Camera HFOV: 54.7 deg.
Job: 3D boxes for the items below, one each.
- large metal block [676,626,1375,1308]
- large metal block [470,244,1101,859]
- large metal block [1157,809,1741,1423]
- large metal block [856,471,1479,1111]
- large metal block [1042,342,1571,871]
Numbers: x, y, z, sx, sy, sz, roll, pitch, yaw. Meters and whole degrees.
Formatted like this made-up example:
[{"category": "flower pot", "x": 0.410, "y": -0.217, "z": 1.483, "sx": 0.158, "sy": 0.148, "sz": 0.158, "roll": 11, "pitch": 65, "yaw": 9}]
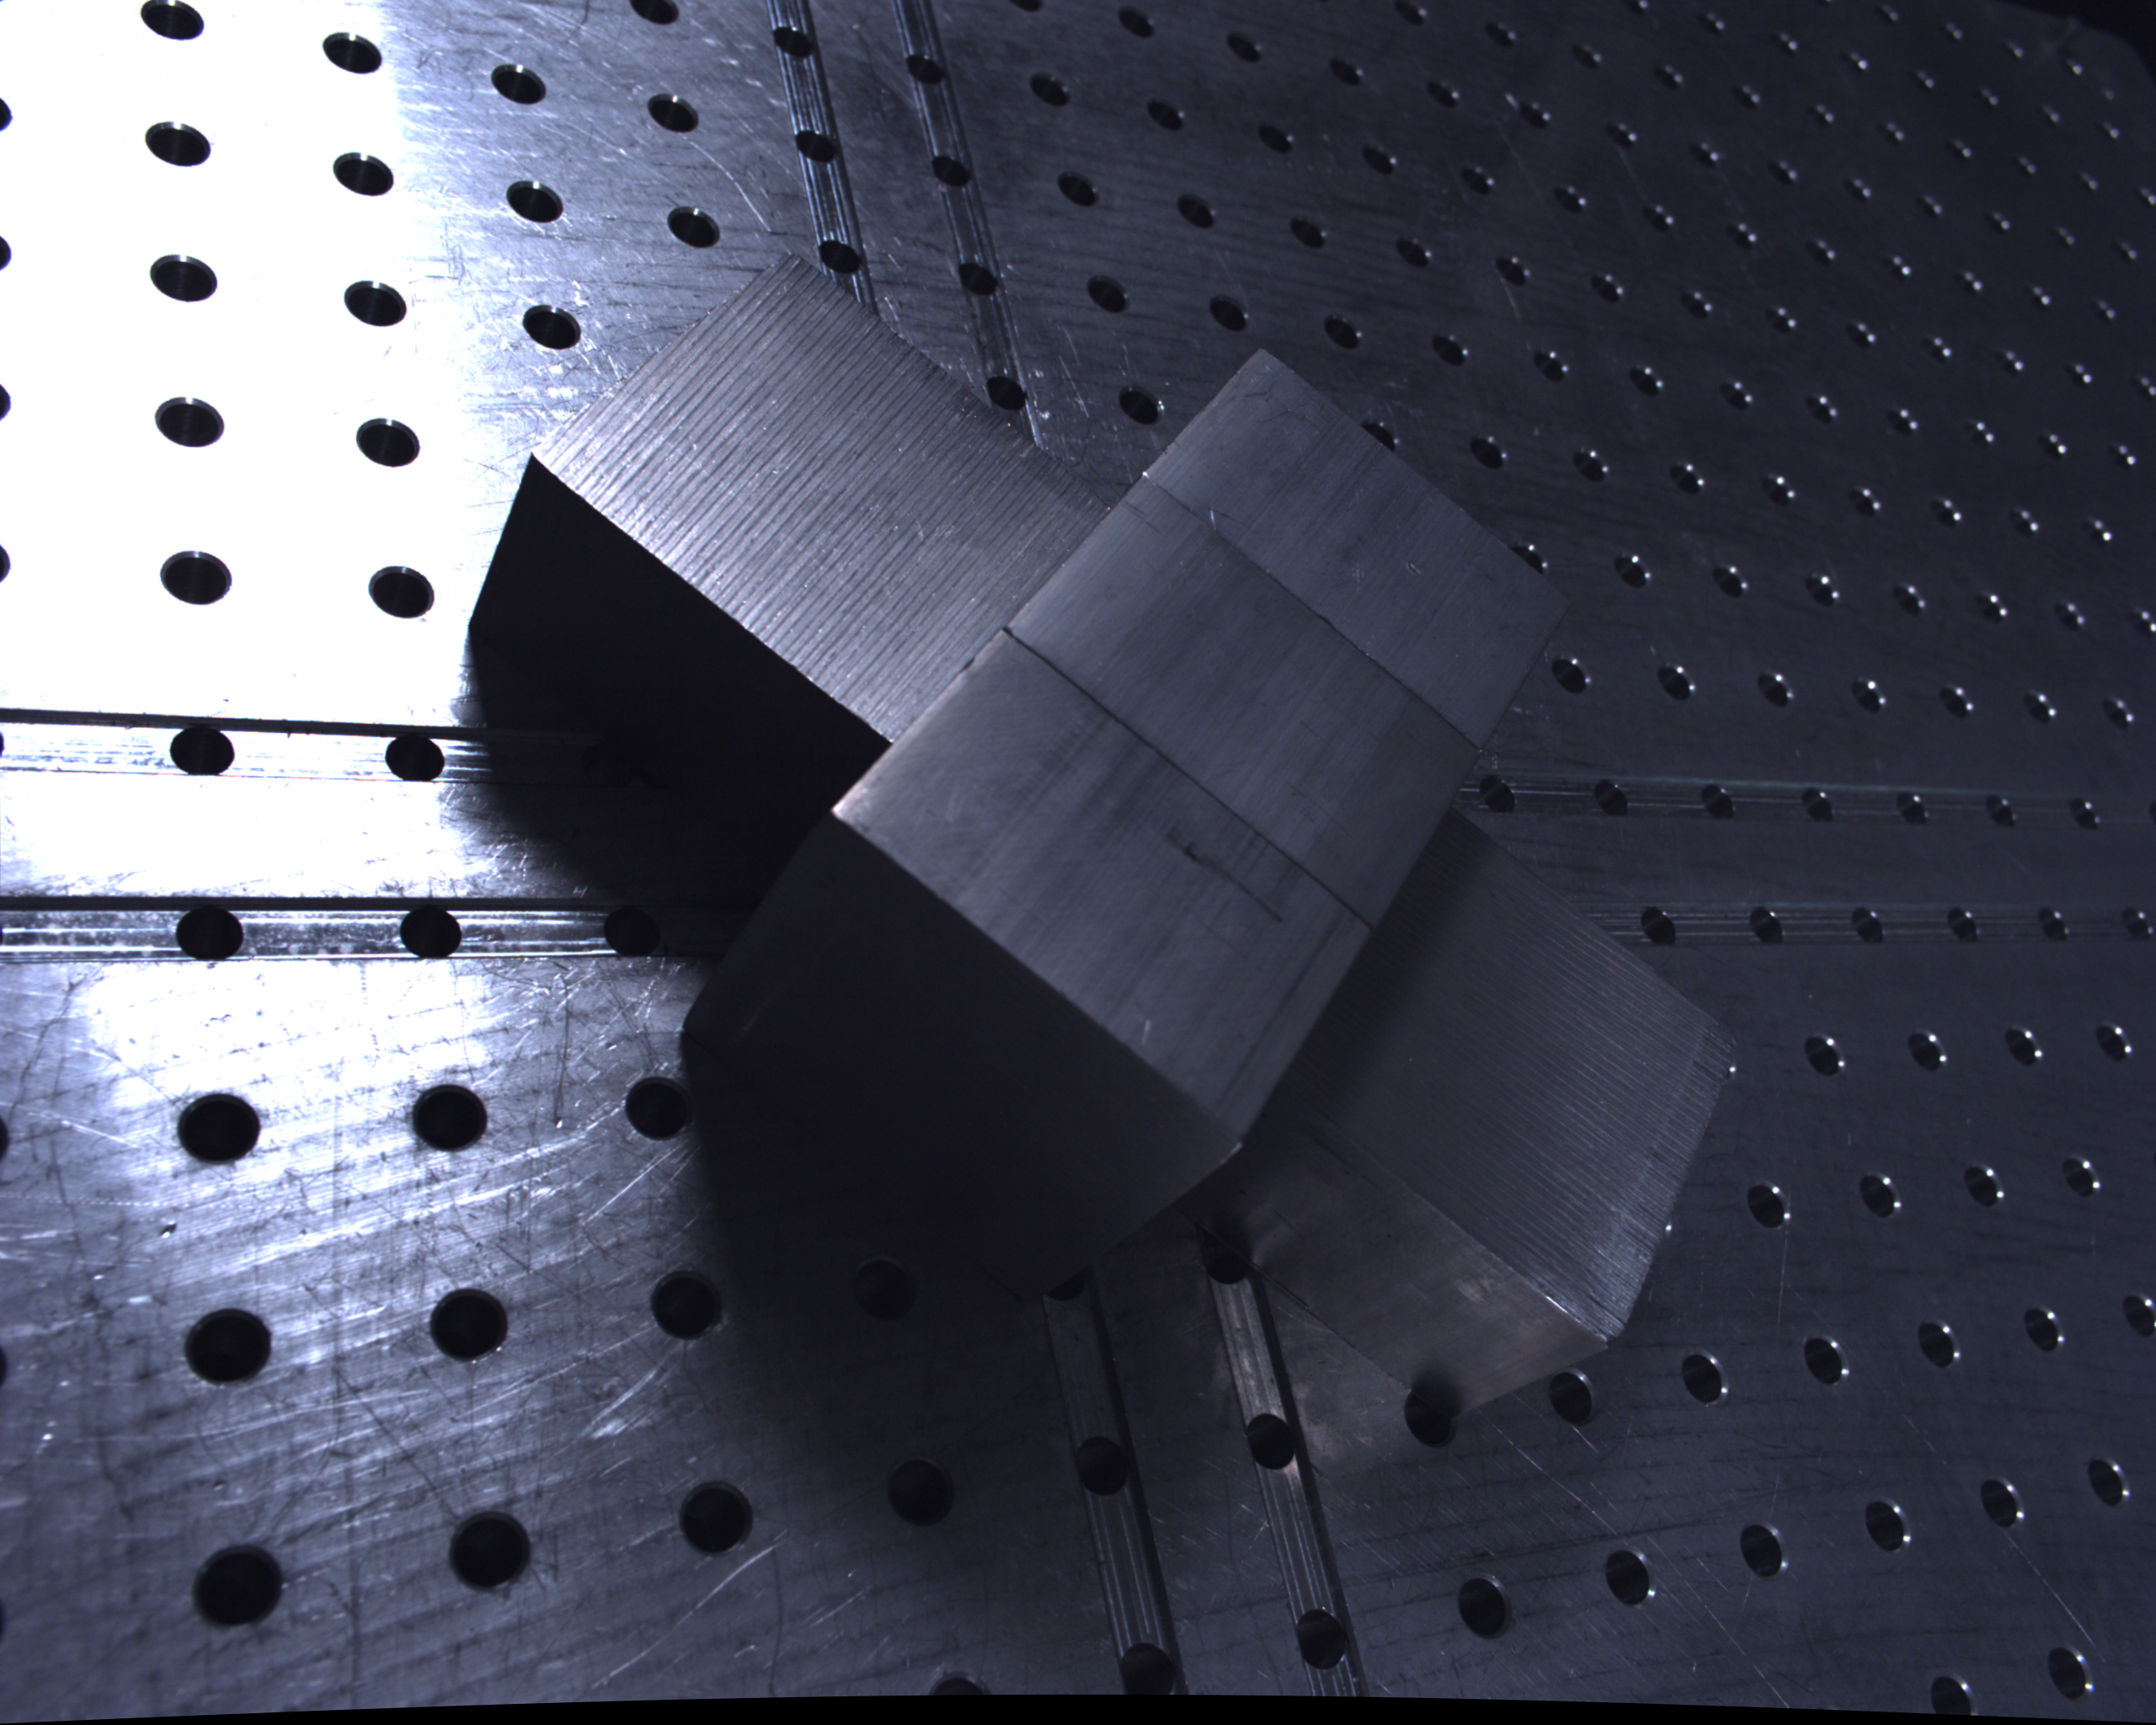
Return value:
[{"category": "large metal block", "x": -0.011, "y": 0.021, "z": 0.356, "sx": 0.080, "sy": 0.080, "sz": 0.050, "roll": 39, "pitch": 51, "yaw": -2}, {"category": "large metal block", "x": -0.053, "y": -0.057, "z": 0.396, "sx": 0.080, "sy": 0.050, "sz": 0.080, "roll": 38, "pitch": 52, "yaw": -3}, {"category": "large metal block", "x": 0.070, "y": 0.046, "z": 0.403, "sx": 0.080, "sy": 0.050, "sz": 0.080, "roll": 39, "pitch": 52, "yaw": -2}, {"category": "large metal block", "x": 0.012, "y": -0.011, "z": 0.388, "sx": 0.080, "sy": 0.080, "sz": 0.050, "roll": 39, "pitch": 51, "yaw": -2}, {"category": "large metal block", "x": 0.036, "y": -0.042, "z": 0.420, "sx": 0.080, "sy": 0.080, "sz": 0.050, "roll": 39, "pitch": 51, "yaw": -2}]
